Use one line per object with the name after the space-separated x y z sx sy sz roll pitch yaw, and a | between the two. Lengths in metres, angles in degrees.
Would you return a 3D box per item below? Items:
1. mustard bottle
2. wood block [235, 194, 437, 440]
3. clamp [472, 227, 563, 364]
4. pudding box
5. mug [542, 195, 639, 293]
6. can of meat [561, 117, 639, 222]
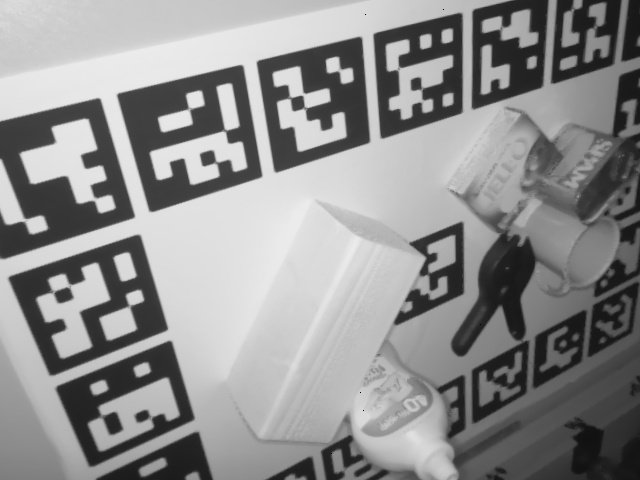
0.089 0.171 0.678 0.097 0.190 0.058 -25 121 -16 | mustard bottle
0.012 0.075 0.661 0.091 0.090 0.205 18 104 -35 | wood block
0.245 0.066 0.817 0.123 0.036 0.164 -1 110 -26 | clamp
0.216 -0.076 0.732 0.091 0.038 0.113 33 95 -34 | pudding box
0.314 0.006 0.822 0.094 0.081 0.116 1 109 -28 | mug
0.318 -0.080 0.752 0.102 0.083 0.058 -47 124 -2 | can of meat
